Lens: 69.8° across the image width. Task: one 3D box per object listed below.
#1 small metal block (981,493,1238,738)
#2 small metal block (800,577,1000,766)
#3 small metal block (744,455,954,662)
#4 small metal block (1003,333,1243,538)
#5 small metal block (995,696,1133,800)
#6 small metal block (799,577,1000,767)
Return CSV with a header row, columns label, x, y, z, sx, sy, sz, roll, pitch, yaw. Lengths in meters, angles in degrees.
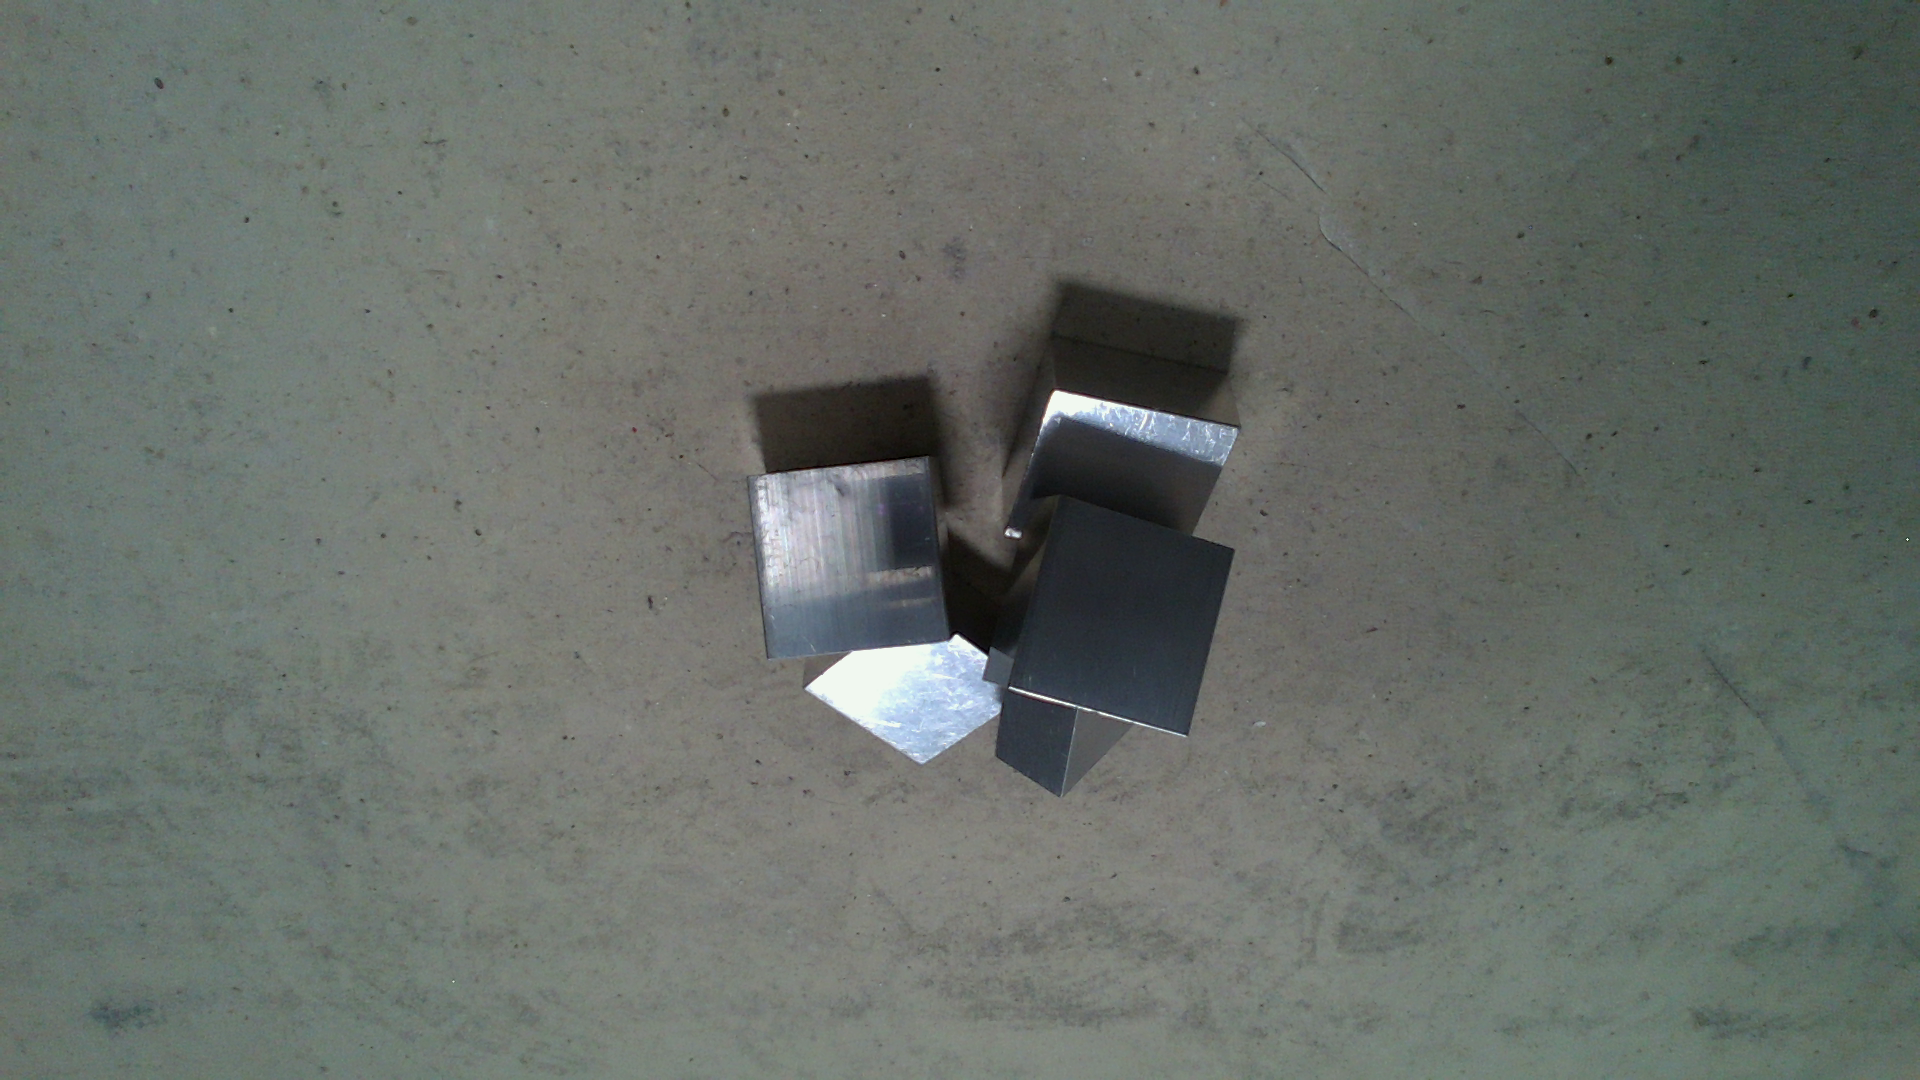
label,x,y,z,sx,sy,sz,roll,pitch,yaw
small metal block,0.039,0.020,0.357,0.050,0.025,0.050,16,85,-14
small metal block,-0.012,0.036,0.422,0.050,0.025,0.050,-37,121,27
small metal block,-0.029,0.005,0.378,0.050,0.025,0.050,-6,92,5
small metal block,0.042,-0.023,0.371,0.050,0.025,0.050,10,129,-9
small metal block,0.038,0.039,0.405,0.025,0.050,0.050,30,135,26
small metal block,-0.013,0.037,0.422,0.050,0.025,0.050,37,121,-27
